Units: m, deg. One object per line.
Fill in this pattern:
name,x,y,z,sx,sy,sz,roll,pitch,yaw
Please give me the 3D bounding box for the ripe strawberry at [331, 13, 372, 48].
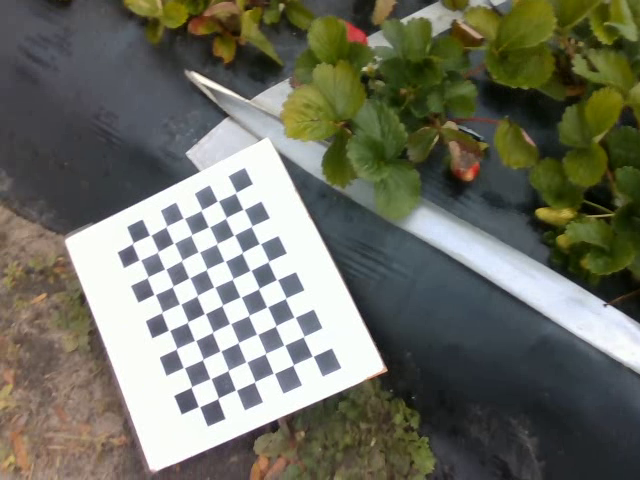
ripe strawberry,0.044,-0.246,0.805,0.041,0.051,0.037,-31,-14,6
